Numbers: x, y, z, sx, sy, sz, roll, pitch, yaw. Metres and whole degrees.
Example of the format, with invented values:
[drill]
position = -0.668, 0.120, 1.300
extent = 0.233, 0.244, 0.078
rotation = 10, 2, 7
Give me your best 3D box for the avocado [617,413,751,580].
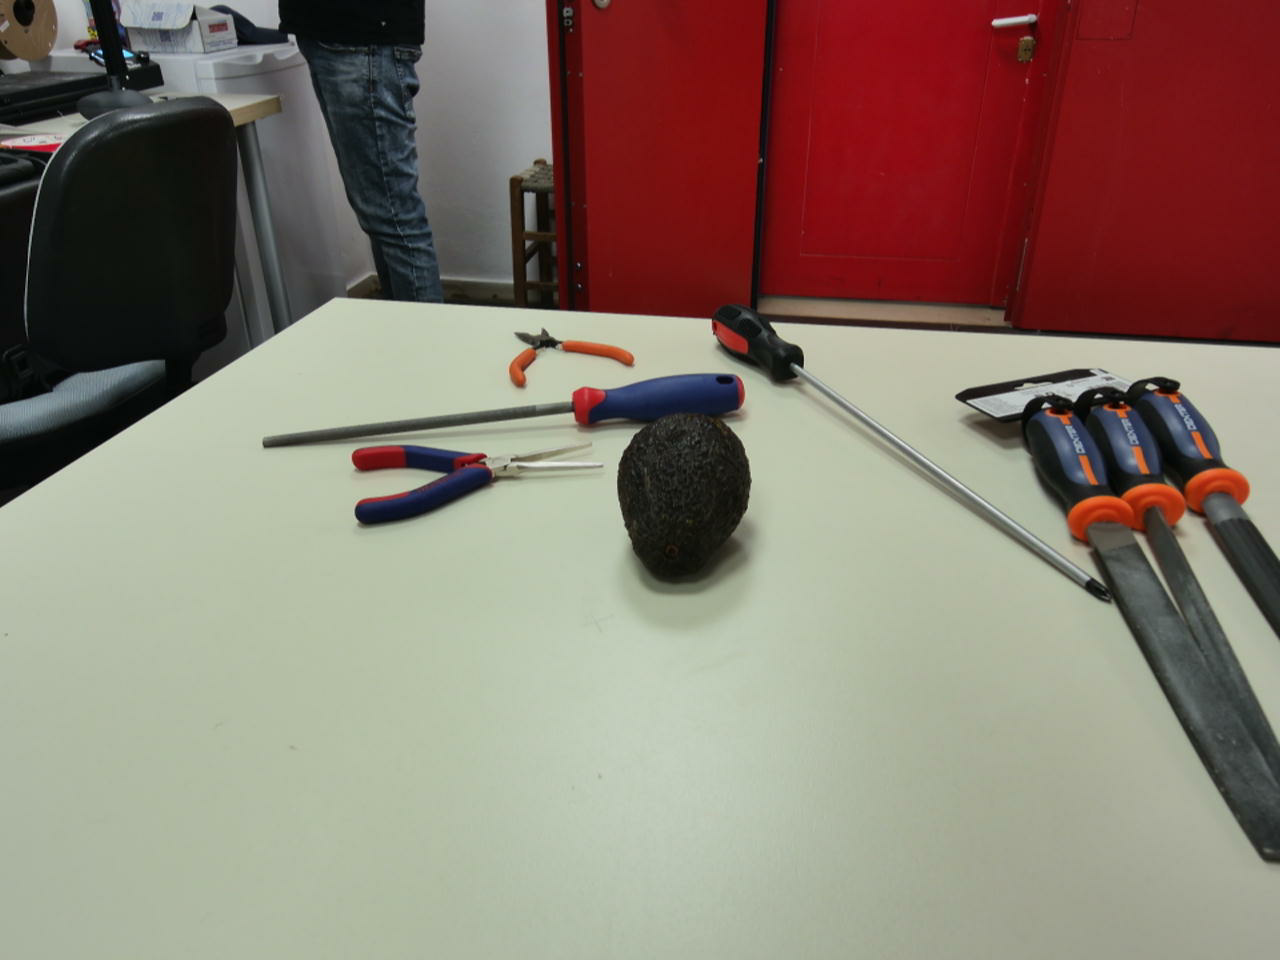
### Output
[avocado]
position = 0.020, 0.003, 0.515
extent = 0.070, 0.069, 0.090
rotation = 17, 31, 33
